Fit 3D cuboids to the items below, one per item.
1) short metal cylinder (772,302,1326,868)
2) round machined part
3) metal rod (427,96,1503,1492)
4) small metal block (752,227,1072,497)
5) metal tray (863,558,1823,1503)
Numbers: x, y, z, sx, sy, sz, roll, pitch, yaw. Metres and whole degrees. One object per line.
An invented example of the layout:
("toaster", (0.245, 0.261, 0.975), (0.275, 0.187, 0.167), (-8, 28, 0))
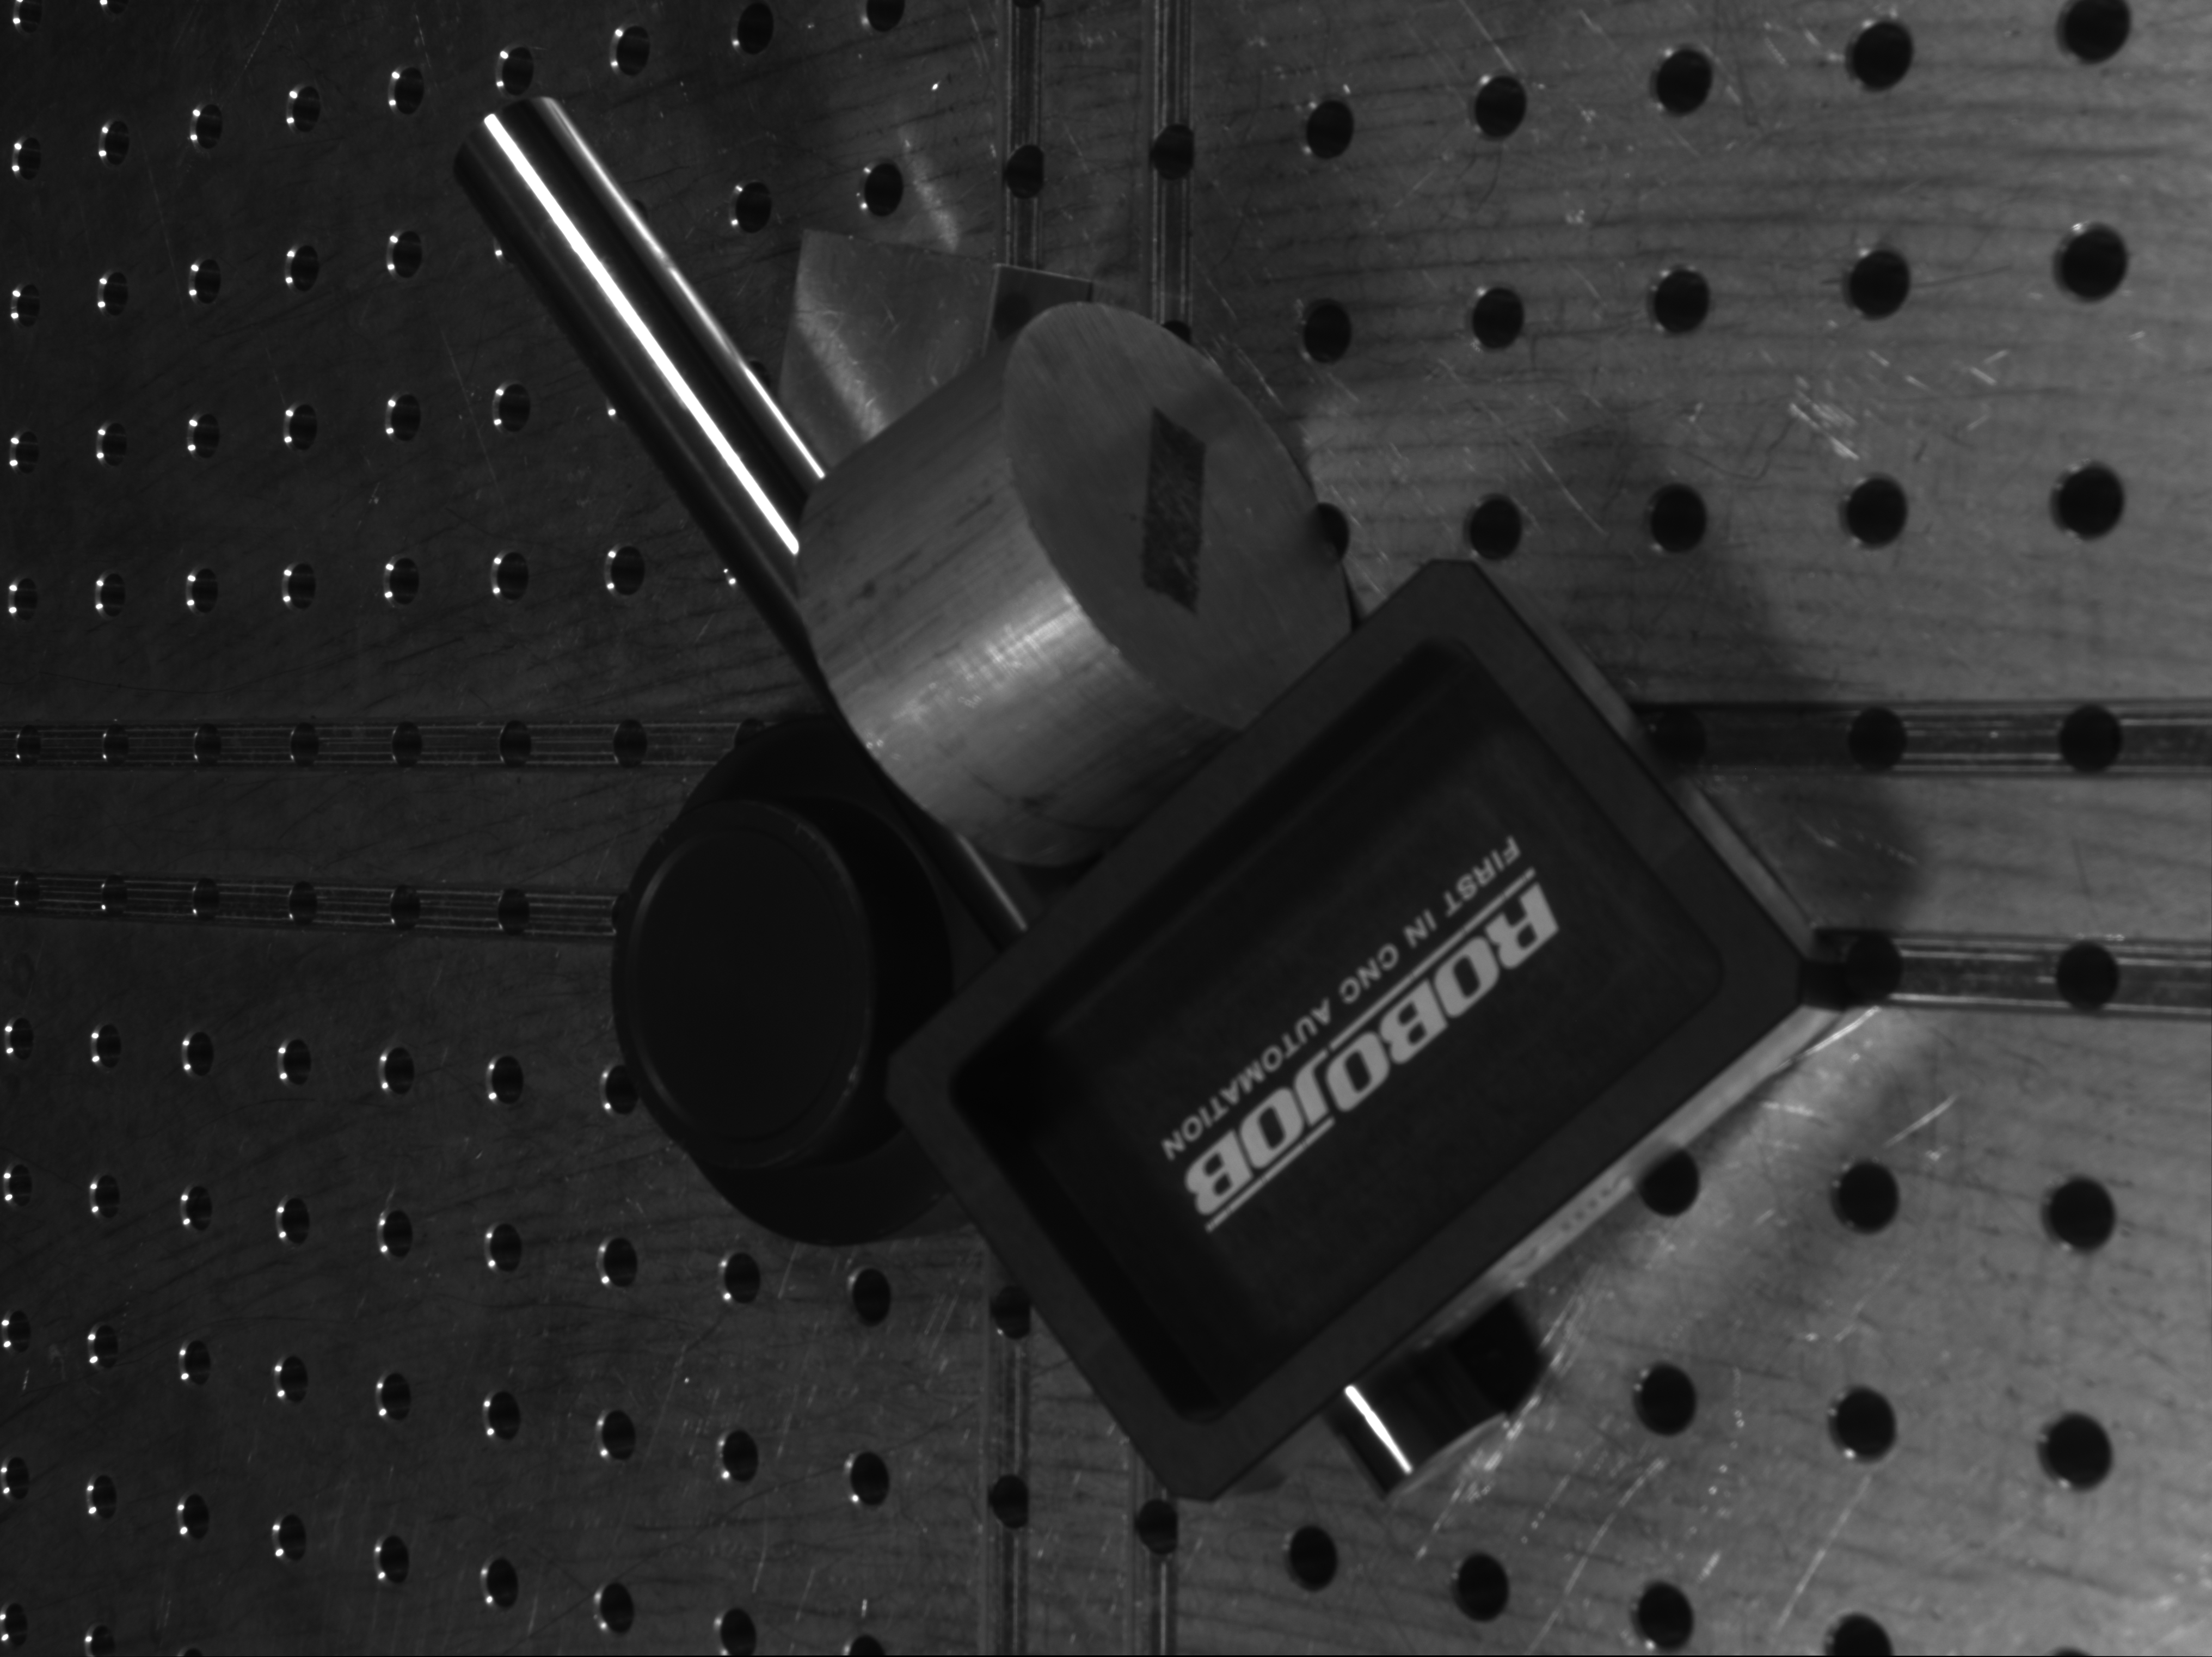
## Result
("short metal cylinder", (-0.009, -0.040, 0.611), (0.050, 0.080, 0.080), (-31, 71, 35))
("round machined part", (-0.058, 0.029, 0.675), (0.098, 0.042, 0.098), (0, 90, 39))
("metal rod", (-0.031, -0.014, 0.643), (0.025, 0.025, 0.300), (-47, 70, 29))
("small metal block", (-0.037, -0.081, 0.671), (0.050, 0.025, 0.050), (17, 100, 38))
("metal tray", (0.036, 0.033, 0.580), (0.130, 0.030, 0.090), (-43, 71, 14))
